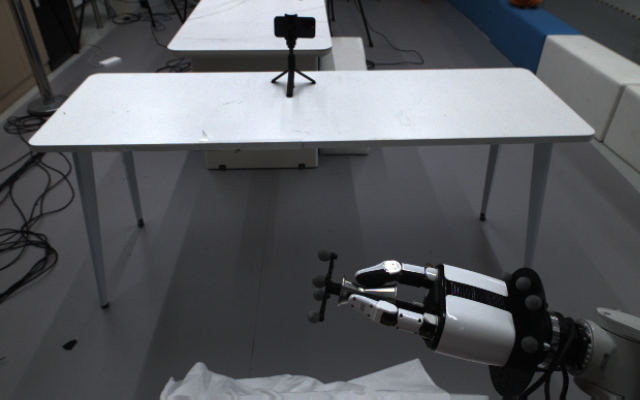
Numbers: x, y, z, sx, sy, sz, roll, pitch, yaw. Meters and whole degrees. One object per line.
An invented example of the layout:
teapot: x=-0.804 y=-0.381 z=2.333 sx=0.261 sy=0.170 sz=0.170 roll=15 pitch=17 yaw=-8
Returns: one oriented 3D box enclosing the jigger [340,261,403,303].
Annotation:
jigger: x=0.066 y=0.118 z=0.609 sx=0.071 sy=0.043 sz=0.043 roll=11 pitch=35 yaw=4
